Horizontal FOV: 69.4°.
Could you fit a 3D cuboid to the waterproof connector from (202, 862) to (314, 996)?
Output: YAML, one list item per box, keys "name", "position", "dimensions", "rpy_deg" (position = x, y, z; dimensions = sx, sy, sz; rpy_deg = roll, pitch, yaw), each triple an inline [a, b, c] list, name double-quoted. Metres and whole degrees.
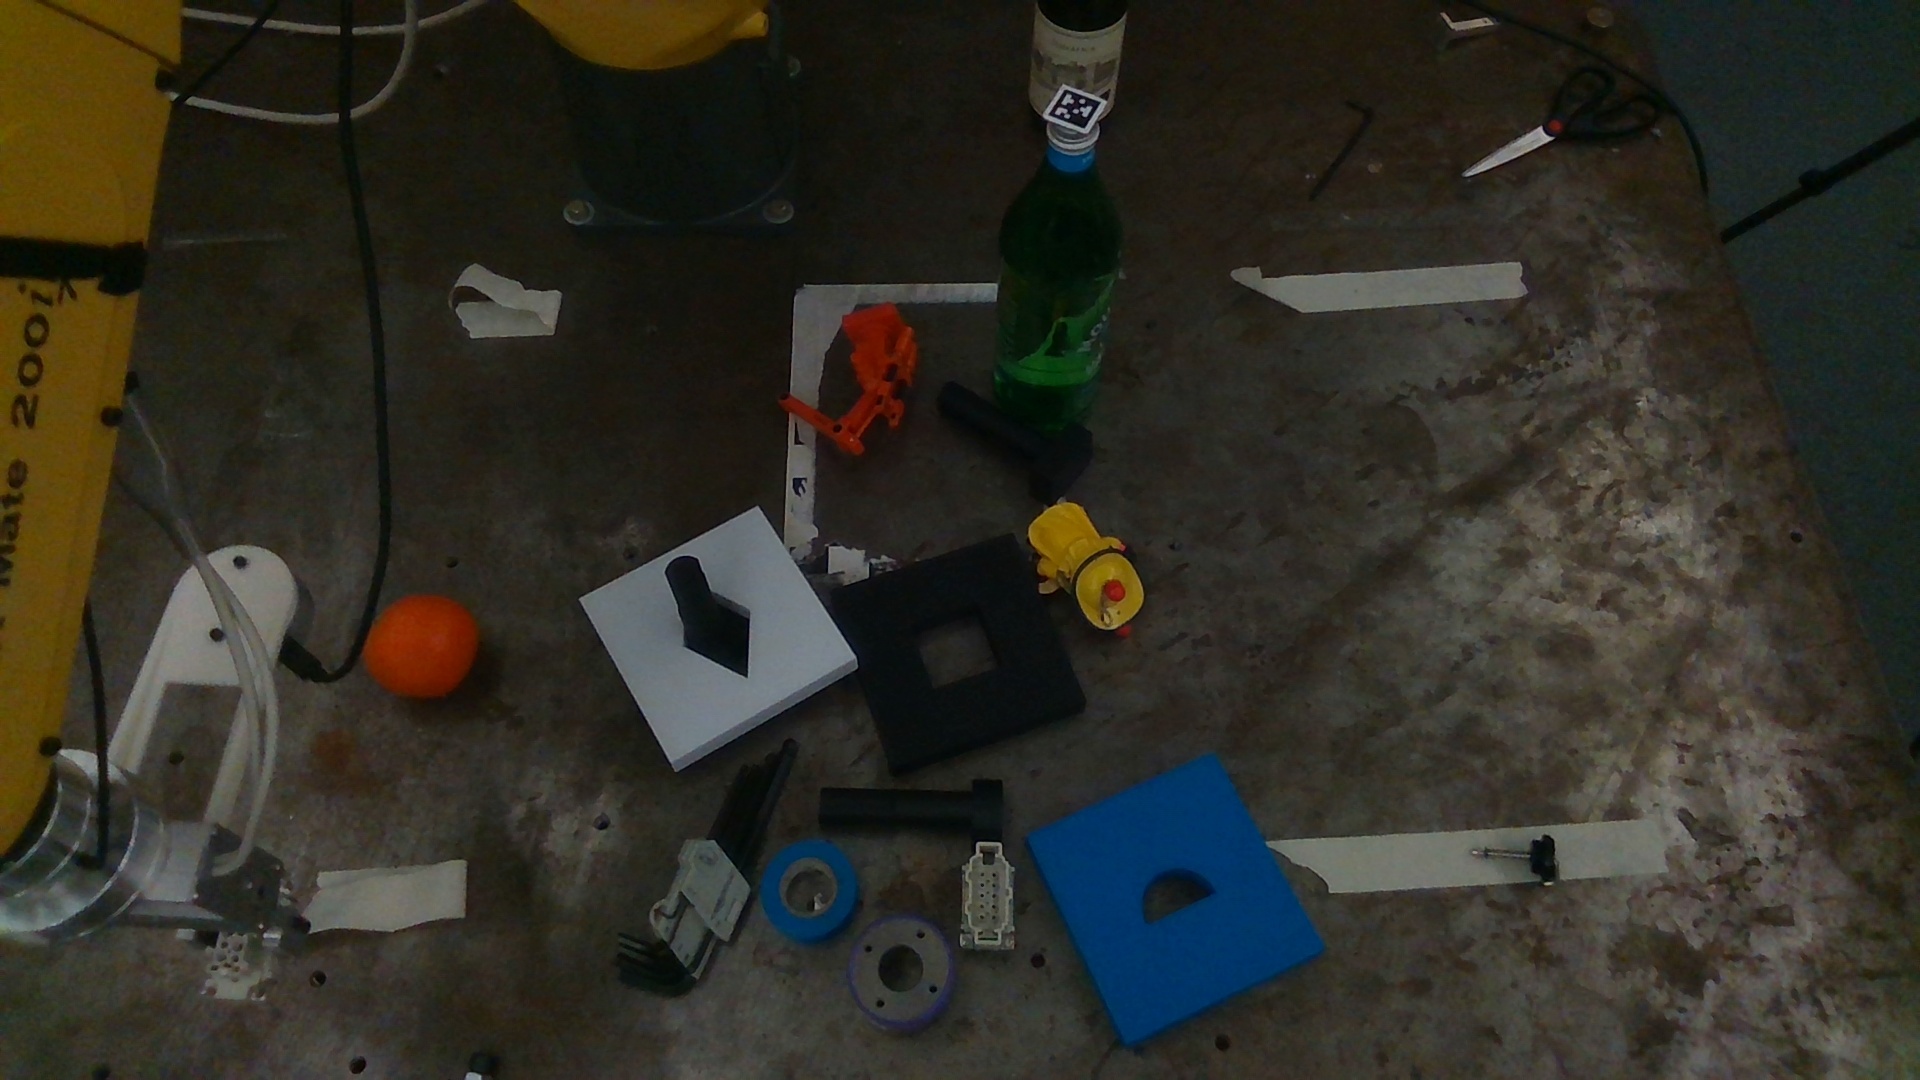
- name: "waterproof connector"
  position: [-0.379, 0.209, 0.747]
  dimensions: [0.037, 0.038, 0.069]
  rpy_deg: [-1, 61, 8]
